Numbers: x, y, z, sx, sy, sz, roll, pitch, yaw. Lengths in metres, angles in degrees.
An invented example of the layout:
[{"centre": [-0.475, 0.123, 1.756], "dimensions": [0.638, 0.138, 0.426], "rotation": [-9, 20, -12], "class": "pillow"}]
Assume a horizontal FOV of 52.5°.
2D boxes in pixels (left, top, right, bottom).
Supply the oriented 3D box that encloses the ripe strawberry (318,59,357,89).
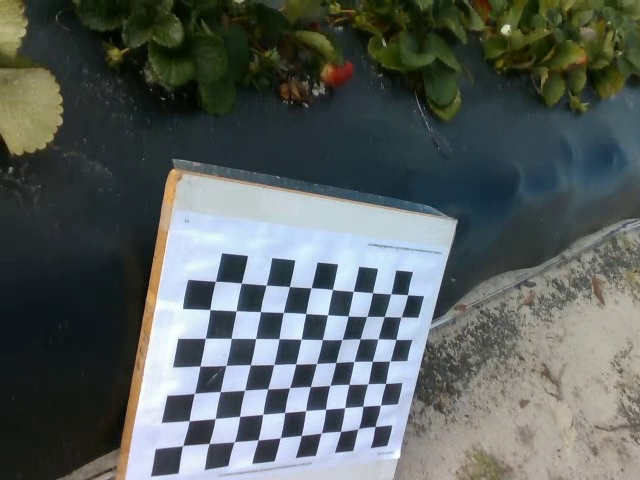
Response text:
[{"centre": [0.010, -0.113, 0.419], "dimensions": [0.027, 0.022, 0.021], "rotation": [-17, 35, -19], "class": "ripe strawberry"}]
